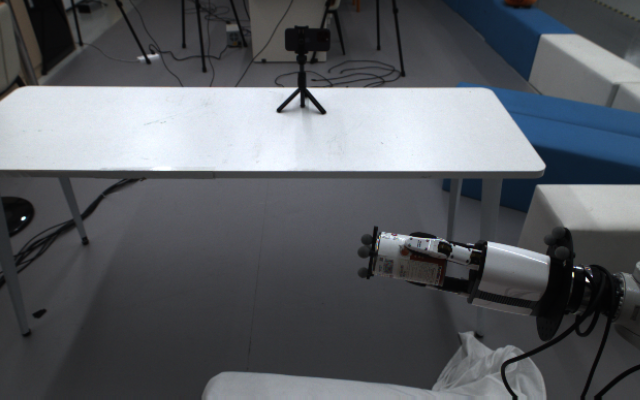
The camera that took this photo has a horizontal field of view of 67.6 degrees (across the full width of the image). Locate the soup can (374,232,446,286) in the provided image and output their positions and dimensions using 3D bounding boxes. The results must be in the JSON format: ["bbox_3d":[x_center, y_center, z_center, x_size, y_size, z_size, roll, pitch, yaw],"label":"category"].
[{"bbox_3d":[0.135,0.085,0.714,0.101,0.067,0.067,8,35,9],"label":"soup can"}]
